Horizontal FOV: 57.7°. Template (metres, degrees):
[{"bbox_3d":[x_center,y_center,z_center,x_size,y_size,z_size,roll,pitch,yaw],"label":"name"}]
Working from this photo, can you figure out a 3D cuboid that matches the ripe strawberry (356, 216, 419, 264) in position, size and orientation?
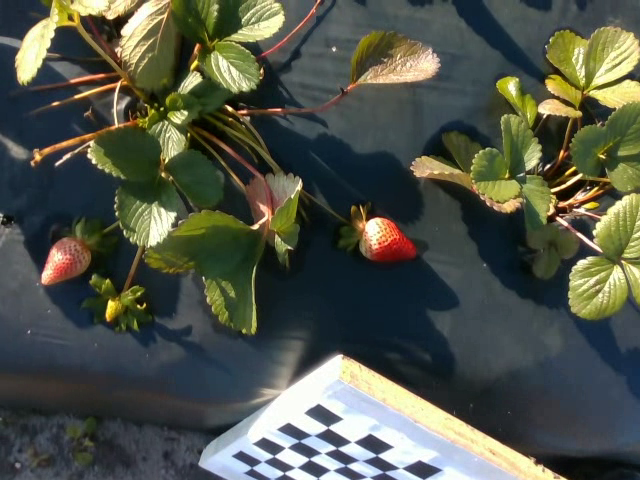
[{"bbox_3d":[0.060,0.002,0.478,0.063,0.044,0.045,18,-42,-3],"label":"ripe strawberry"}]
